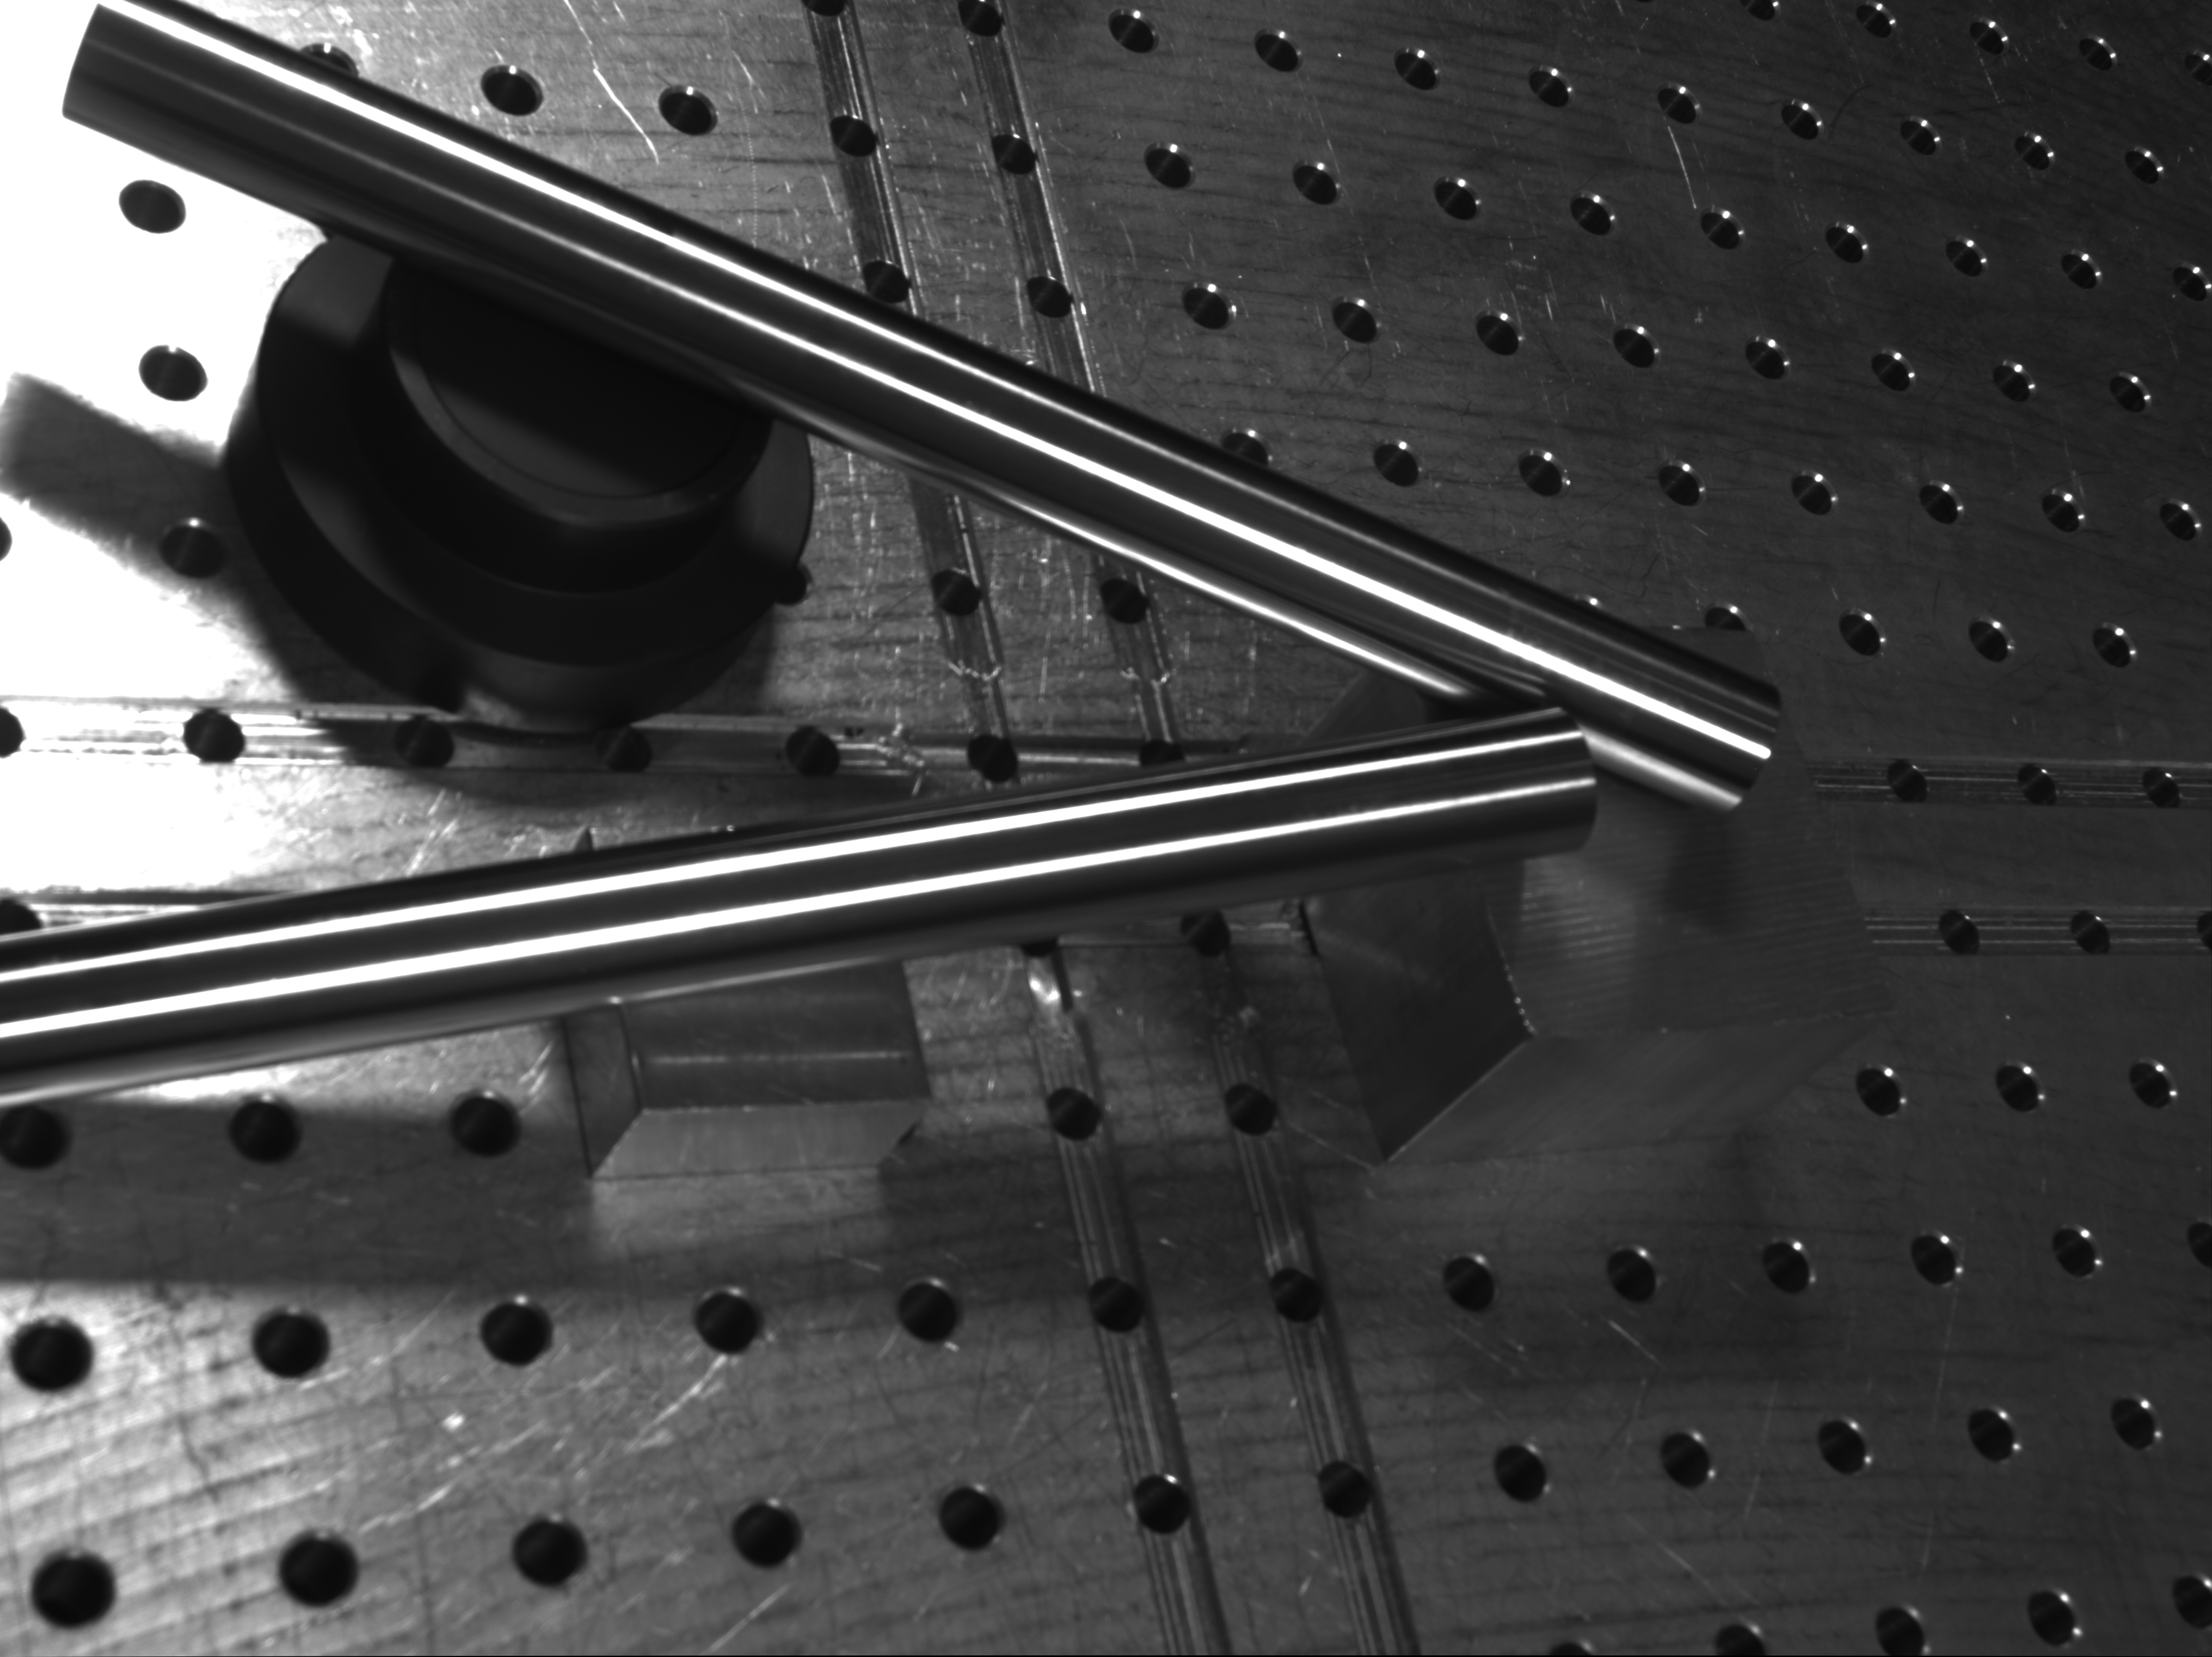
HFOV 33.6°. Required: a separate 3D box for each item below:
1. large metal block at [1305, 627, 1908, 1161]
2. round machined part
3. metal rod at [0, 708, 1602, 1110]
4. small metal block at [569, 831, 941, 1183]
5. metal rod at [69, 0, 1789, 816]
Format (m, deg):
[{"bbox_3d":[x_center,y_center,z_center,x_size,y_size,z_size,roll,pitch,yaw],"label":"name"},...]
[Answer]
[{"bbox_3d":[0.086,0.011,0.663,0.080,0.050,0.080,-2,62,-29],"label":"large metal block"},{"bbox_3d":[-0.094,-0.069,0.623,0.098,0.042,0.098,14,56,-21],"label":"round machined part"},{"bbox_3d":[-0.062,0.013,0.567,0.301,0.025,0.025,-9,66,-20],"label":"metal rod"},{"bbox_3d":[-0.059,0.028,0.594,0.050,0.025,0.050,0,62,-28],"label":"small metal block"},{"bbox_3d":[-0.023,-0.069,0.611,0.300,0.025,0.025,22,53,-11],"label":"metal rod"}]
